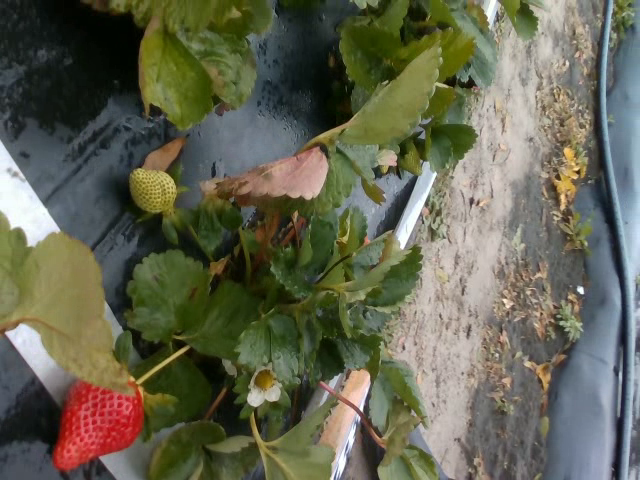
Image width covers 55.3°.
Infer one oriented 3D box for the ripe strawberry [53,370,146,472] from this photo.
[{"bbox_3d":[-0.097,0.077,0.258,0.038,0.041,0.051,22,28,8],"label":"ripe strawberry"}]
